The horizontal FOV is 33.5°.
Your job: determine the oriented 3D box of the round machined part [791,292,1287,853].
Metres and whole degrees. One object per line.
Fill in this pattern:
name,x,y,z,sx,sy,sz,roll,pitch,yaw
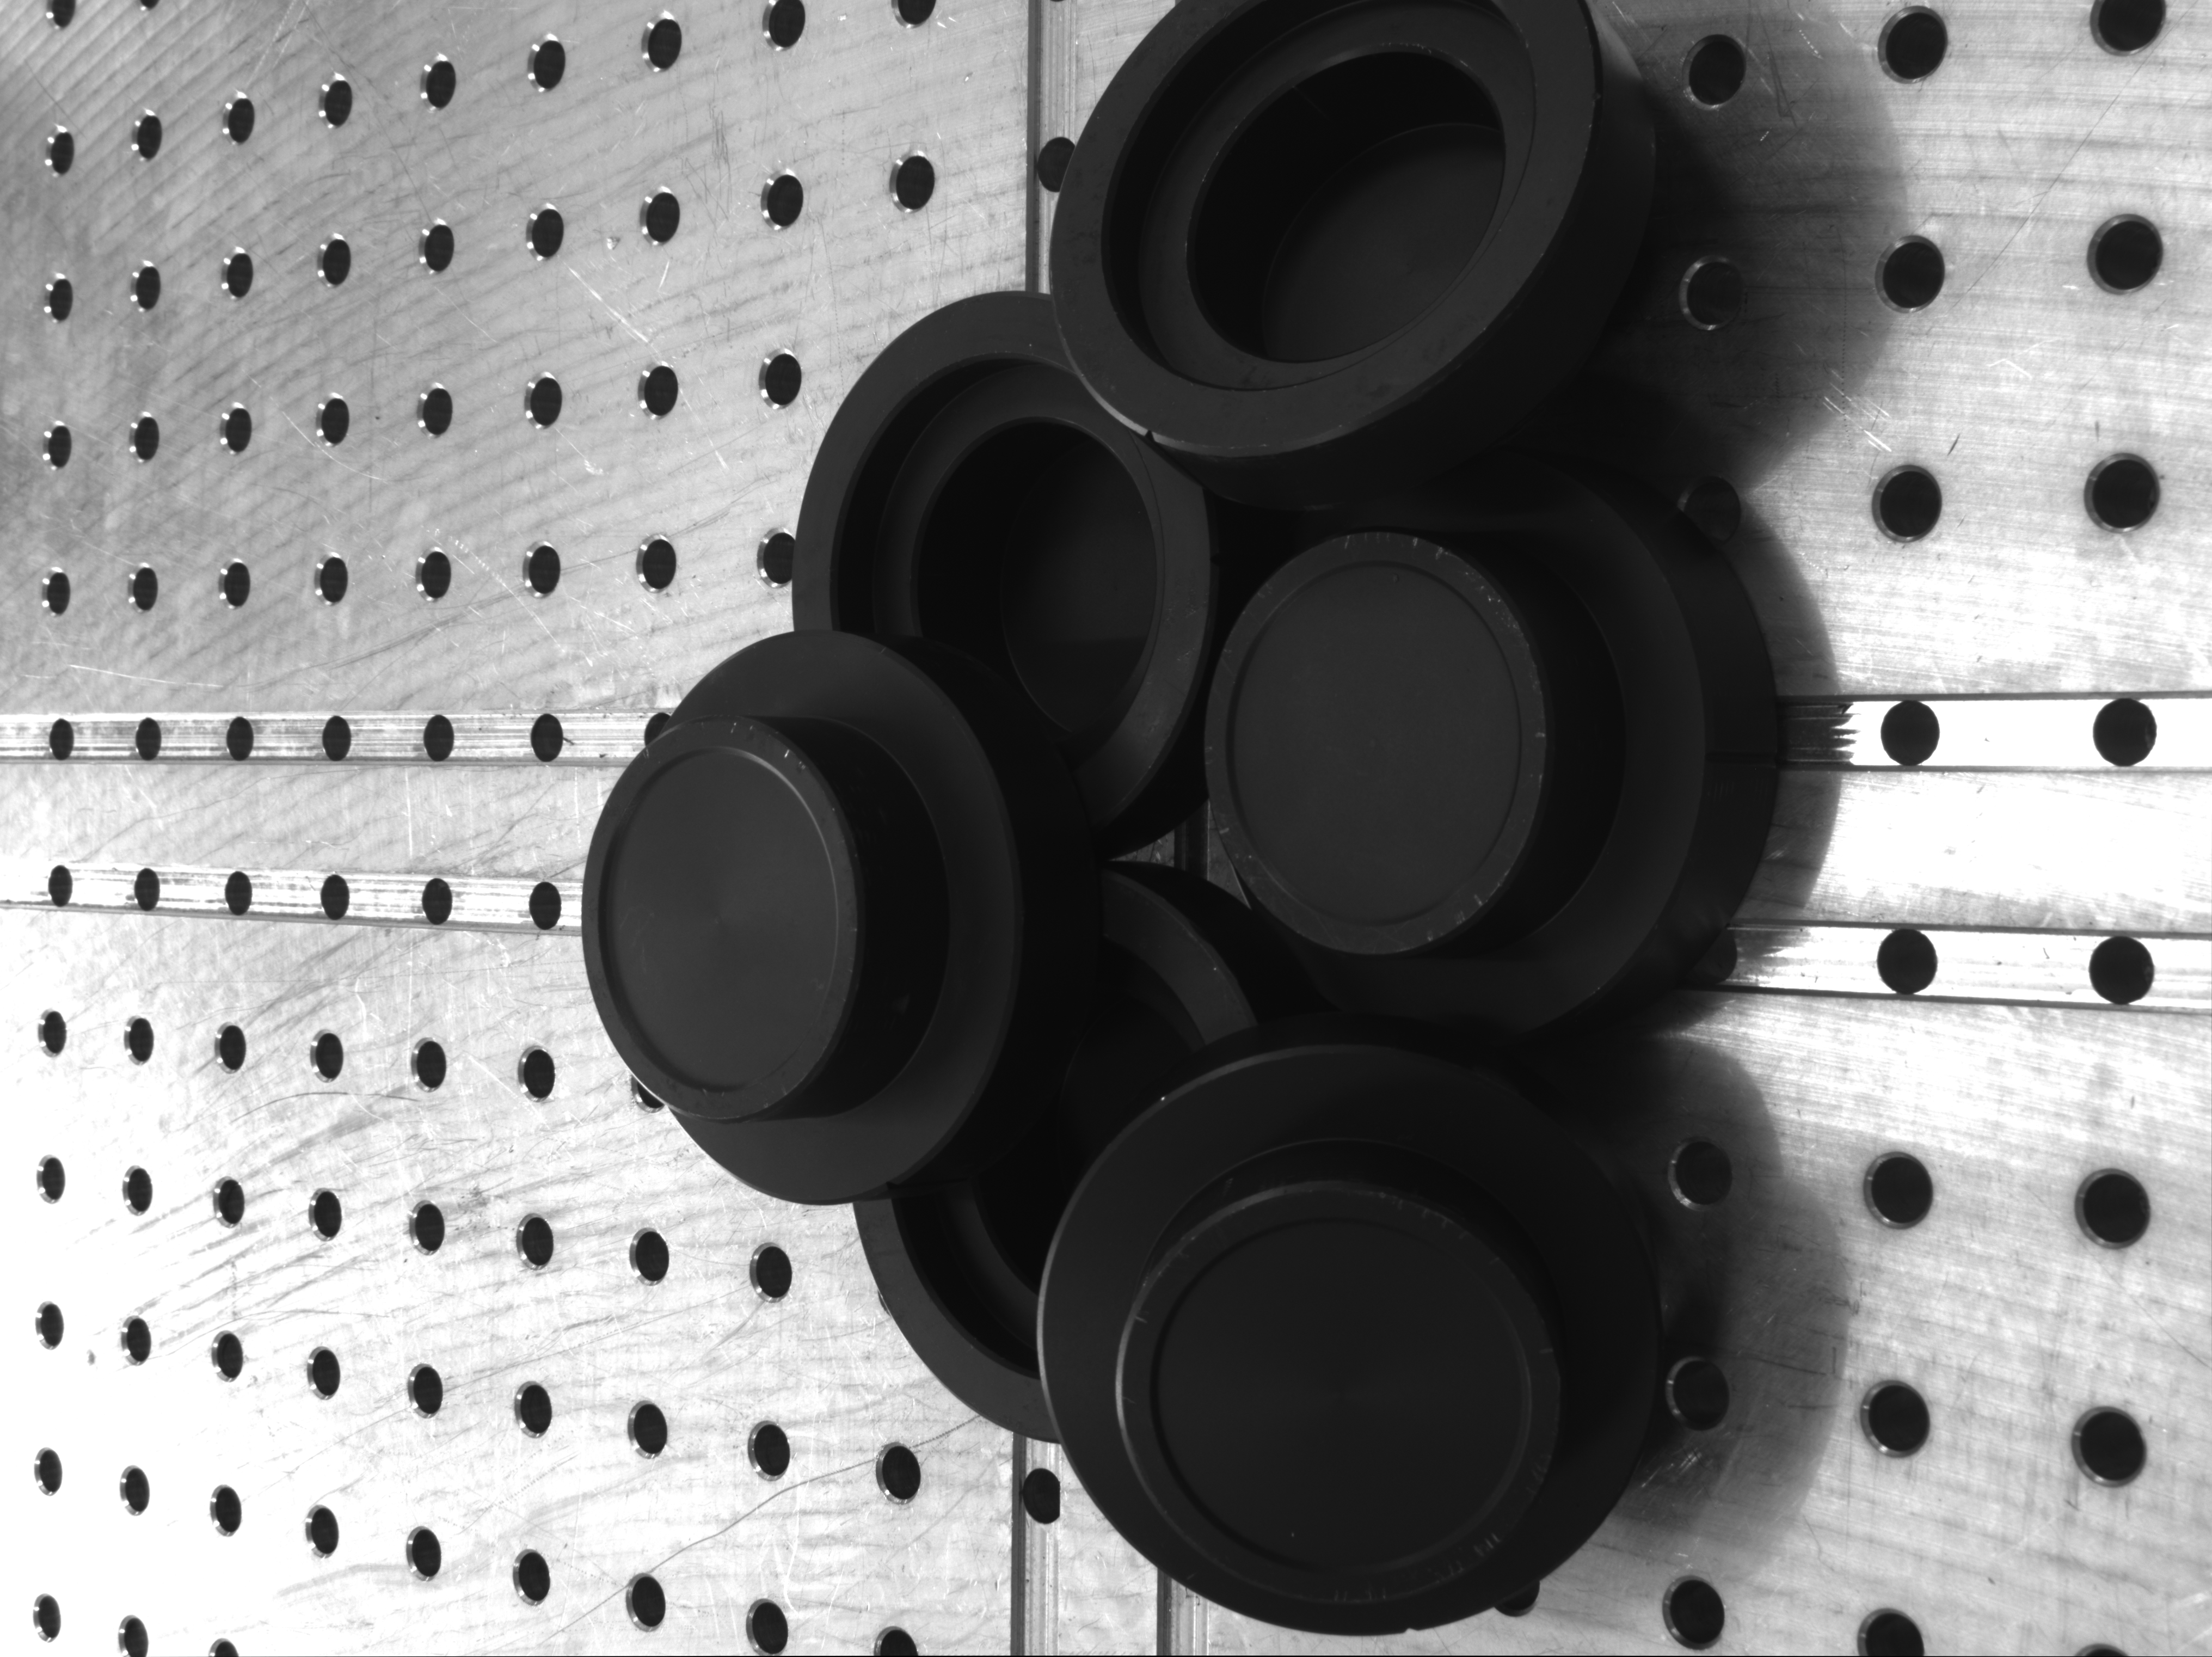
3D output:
round machined part,-0.006,-0.043,0.644,0.098,0.042,0.098,0,90,40

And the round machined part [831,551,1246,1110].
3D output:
round machined part,-0.012,0.001,0.647,0.098,0.042,0.098,0,90,40

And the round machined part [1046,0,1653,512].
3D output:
round machined part,0.043,-0.095,0.587,0.098,0.042,0.098,-14,62,28

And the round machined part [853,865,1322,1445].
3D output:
round machined part,0.004,0.055,0.634,0.098,0.042,0.098,0,90,40

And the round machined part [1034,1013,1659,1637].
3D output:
round machined part,0.037,0.081,0.574,0.098,0.042,0.098,2,103,7

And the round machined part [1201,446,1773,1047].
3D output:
round machined part,0.054,-0.013,0.592,0.098,0.042,0.098,0,90,40

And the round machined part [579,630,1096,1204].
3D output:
round machined part,-0.052,0.015,0.626,0.098,0.042,0.098,0,90,40
